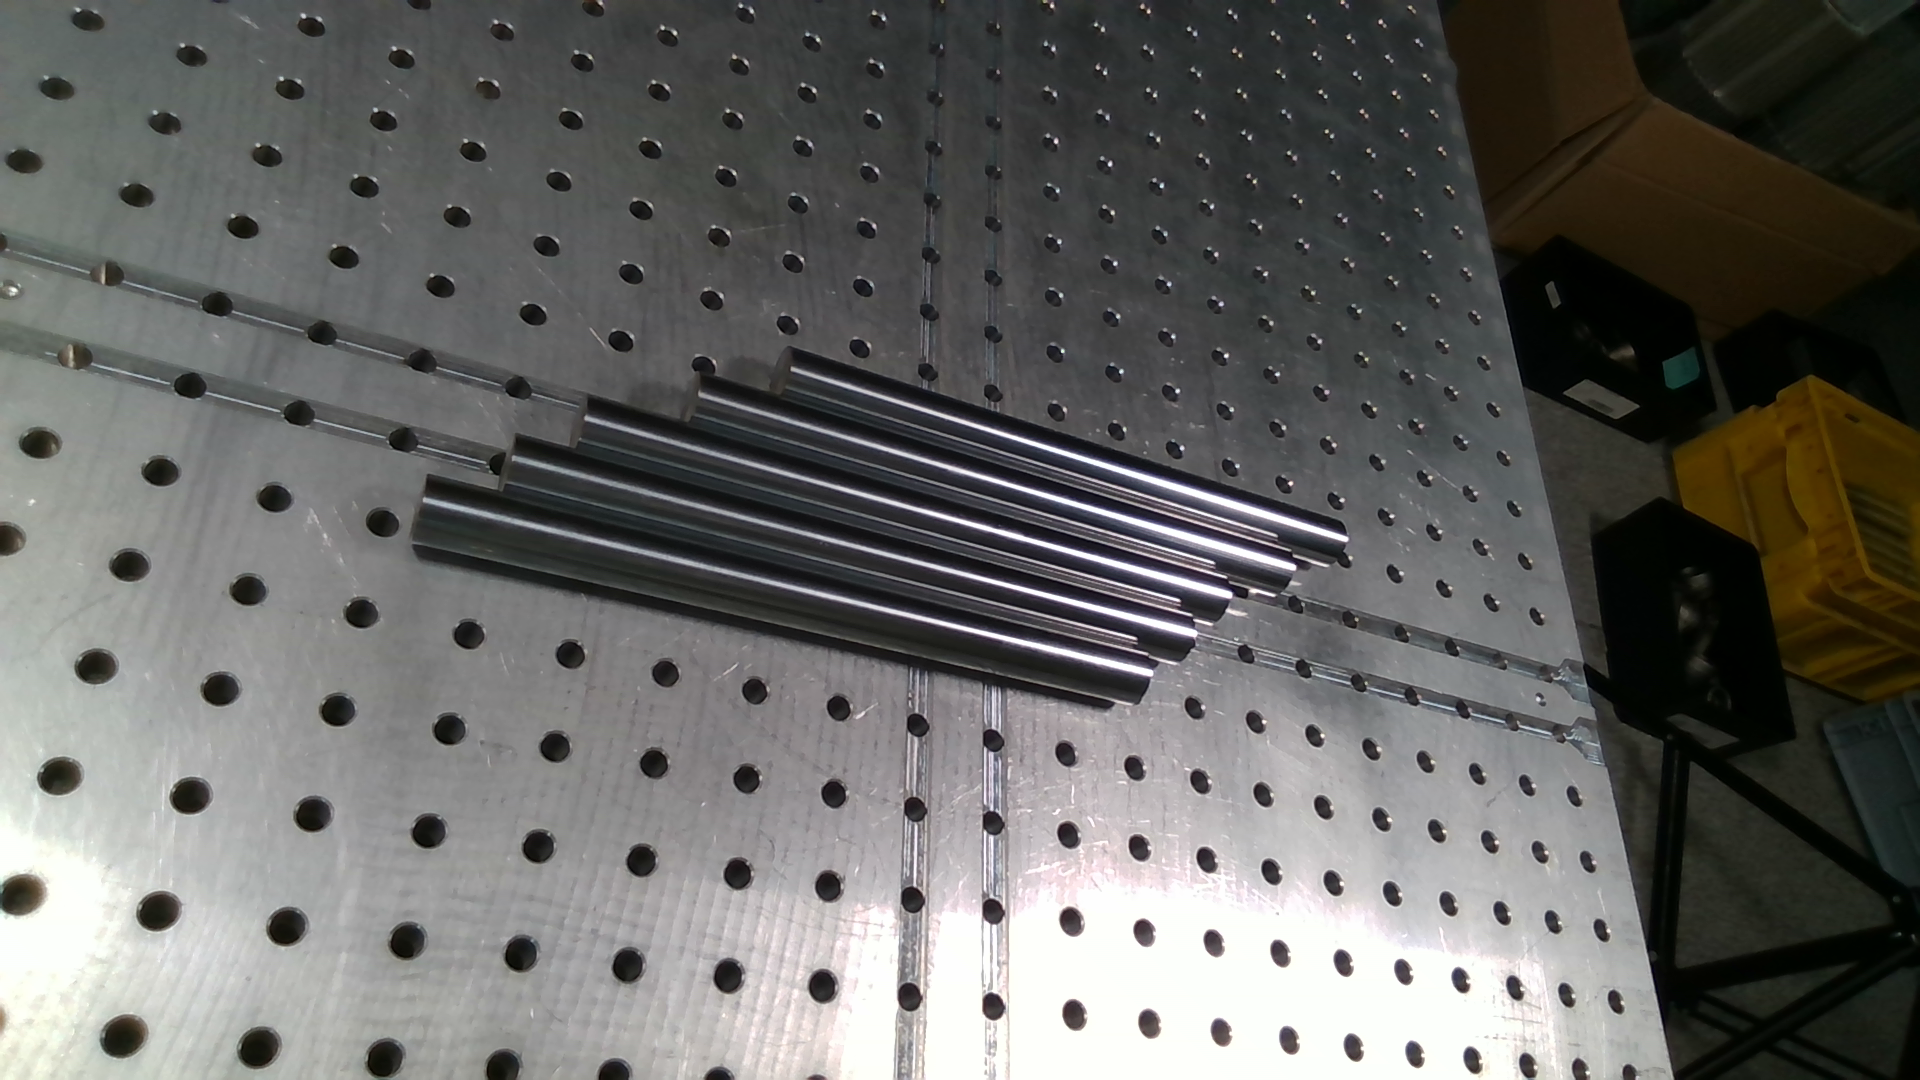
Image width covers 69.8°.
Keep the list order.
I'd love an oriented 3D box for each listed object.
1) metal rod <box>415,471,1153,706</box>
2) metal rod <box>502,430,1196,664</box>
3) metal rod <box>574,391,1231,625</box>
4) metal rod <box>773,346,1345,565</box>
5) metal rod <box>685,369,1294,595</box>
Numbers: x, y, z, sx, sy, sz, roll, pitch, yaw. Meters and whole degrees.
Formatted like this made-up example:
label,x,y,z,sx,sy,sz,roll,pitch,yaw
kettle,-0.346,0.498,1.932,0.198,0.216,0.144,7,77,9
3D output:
label,x,y,z,sx,sy,sz,roll,pitch,yaw
metal rod,-0.055,0.024,0.541,0.300,0.025,0.025,15,58,-24
metal rod,-0.032,0.008,0.564,0.300,0.025,0.025,15,58,-24
metal rod,-0.013,-0.008,0.585,0.300,0.025,0.025,15,58,-24
metal rod,0.056,-0.034,0.642,0.300,0.025,0.025,15,58,-24
metal rod,0.023,-0.021,0.614,0.300,0.025,0.025,15,58,-24
